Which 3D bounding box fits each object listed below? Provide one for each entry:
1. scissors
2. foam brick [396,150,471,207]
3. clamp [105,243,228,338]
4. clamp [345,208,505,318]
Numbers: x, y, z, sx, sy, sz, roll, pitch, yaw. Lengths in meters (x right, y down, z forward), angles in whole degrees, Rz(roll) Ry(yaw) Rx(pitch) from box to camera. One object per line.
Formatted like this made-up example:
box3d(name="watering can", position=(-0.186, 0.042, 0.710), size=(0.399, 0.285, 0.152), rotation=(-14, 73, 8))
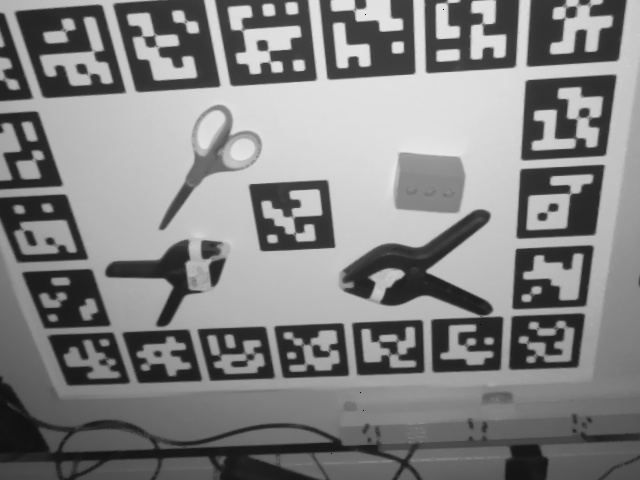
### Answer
box3d(name="scissors", position=(-0.146, -0.078, 0.856), size=(0.088, 0.016, 0.200), rotation=(34, 117, -6))
box3d(name="foam brick", position=(0.134, -0.074, 0.830), size=(0.078, 0.052, 0.052), rotation=(1, 118, -2))
box3d(name="clamp", position=(-0.192, 0.053, 0.928), size=(0.163, 0.037, 0.122), rotation=(-30, 106, 17))
box3d(name="clamp", position=(0.133, 0.042, 0.900), size=(0.202, 0.037, 0.164), rotation=(-7, 121, 8))
